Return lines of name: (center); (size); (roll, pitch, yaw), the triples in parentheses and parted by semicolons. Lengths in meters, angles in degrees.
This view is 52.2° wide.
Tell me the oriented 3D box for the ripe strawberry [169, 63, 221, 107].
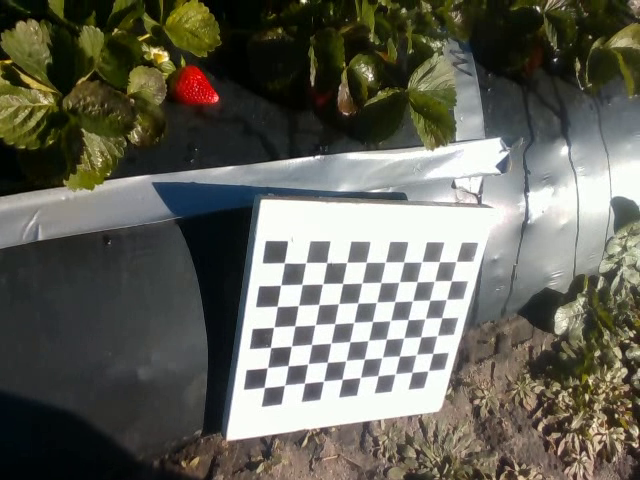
ripe strawberry: (-0.126, -0.153, 0.652); (0.058, 0.046, 0.042); (33, 4, -14)
